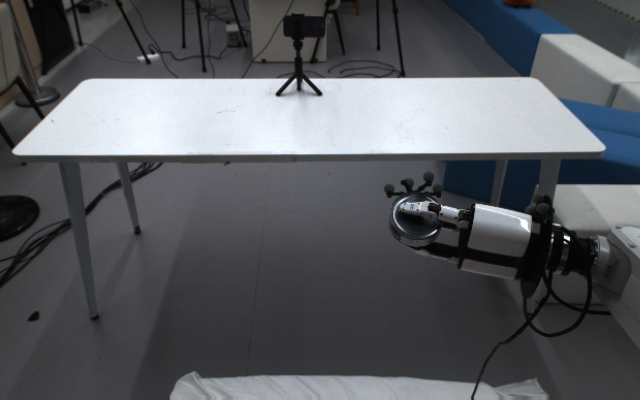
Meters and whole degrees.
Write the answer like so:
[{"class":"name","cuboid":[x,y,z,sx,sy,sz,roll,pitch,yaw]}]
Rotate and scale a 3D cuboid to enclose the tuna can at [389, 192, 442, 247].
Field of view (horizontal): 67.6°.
[{"class":"tuna can","cuboid":[0.154,0.030,0.774,0.085,0.034,0.085,-2,58,3]}]
